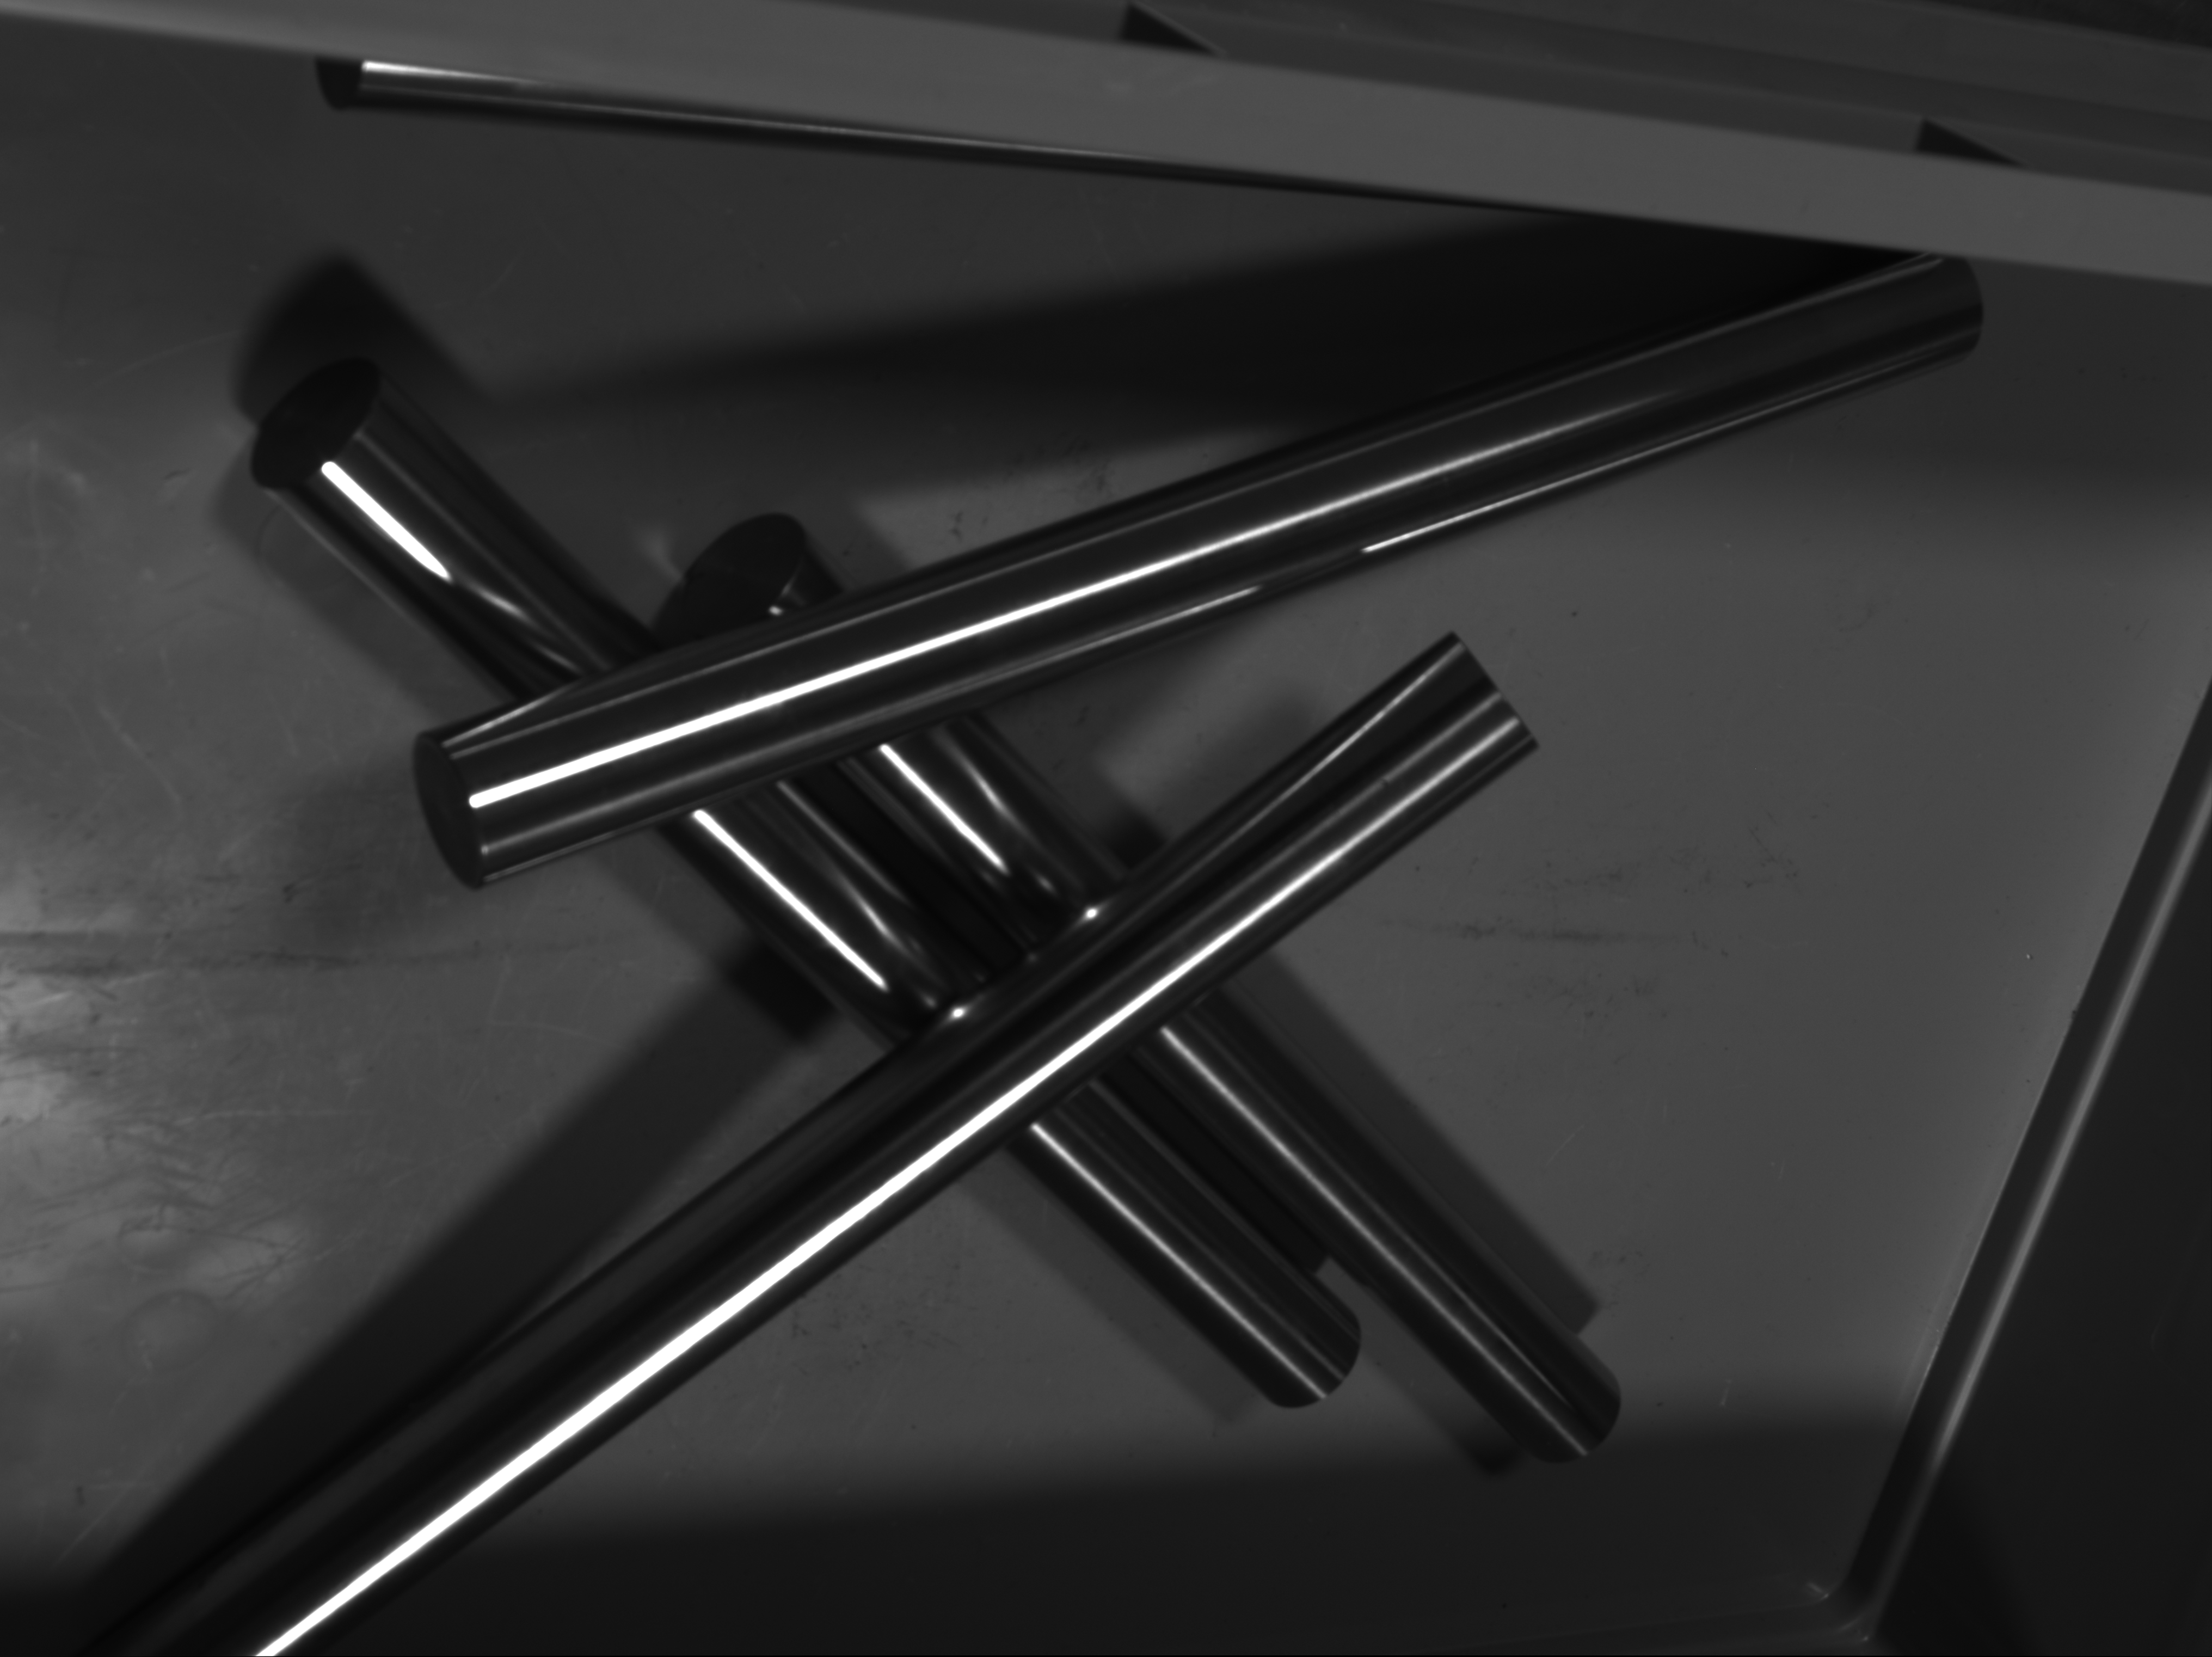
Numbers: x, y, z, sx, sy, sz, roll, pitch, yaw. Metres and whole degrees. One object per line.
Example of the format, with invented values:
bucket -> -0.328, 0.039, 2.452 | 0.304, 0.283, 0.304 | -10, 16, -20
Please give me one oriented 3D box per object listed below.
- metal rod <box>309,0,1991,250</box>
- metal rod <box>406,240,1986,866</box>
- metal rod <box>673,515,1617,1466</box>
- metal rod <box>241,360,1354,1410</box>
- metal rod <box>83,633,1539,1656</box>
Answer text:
metal rod -> 0.022, -0.116, 0.591 | 0.301, 0.025, 0.025 | -1, 119, -30
metal rod -> 0.027, -0.054, 0.613 | 0.301, 0.025, 0.025 | -21, 127, -26
metal rod -> 0.019, 0.042, 0.688 | 0.025, 0.025, 0.301 | -43, 130, 0
metal rod -> -0.040, 0.023, 0.642 | 0.025, 0.025, 0.301 | -43, 130, 0
metal rod -> -0.054, 0.066, 0.633 | 0.300, 0.025, 0.025 | -37, 131, 5
